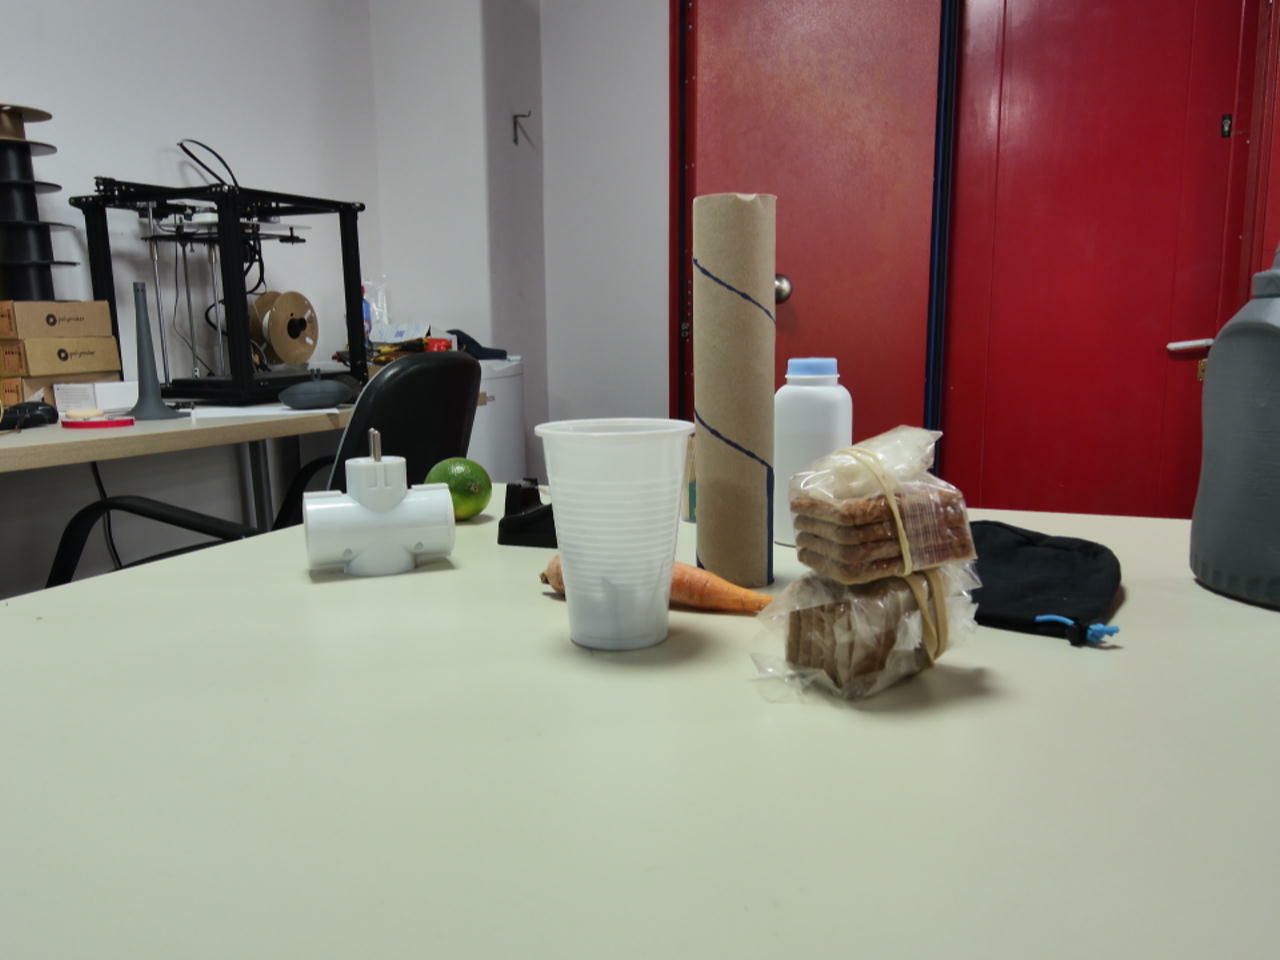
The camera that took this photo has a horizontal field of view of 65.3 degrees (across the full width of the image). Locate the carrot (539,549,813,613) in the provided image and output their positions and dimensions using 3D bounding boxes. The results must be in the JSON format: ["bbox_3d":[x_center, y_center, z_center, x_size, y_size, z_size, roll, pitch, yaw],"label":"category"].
[{"bbox_3d":[0.016,0.057,0.557,0.163,0.029,0.031,3,7,23],"label":"carrot"}]
